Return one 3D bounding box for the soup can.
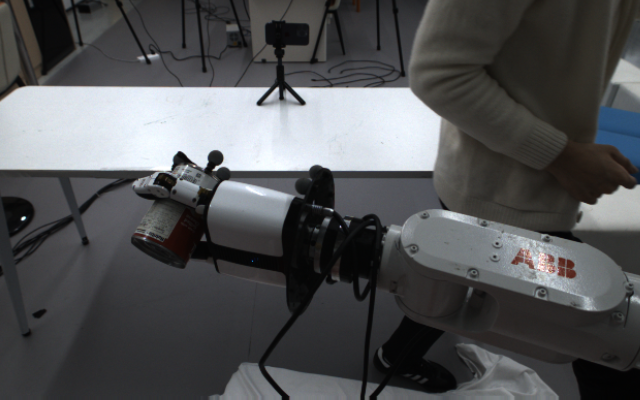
[{"bbox_3d":[-0.157,0.018,0.549,0.067,0.067,0.101,15,63,18],"label":"soup can"}]
